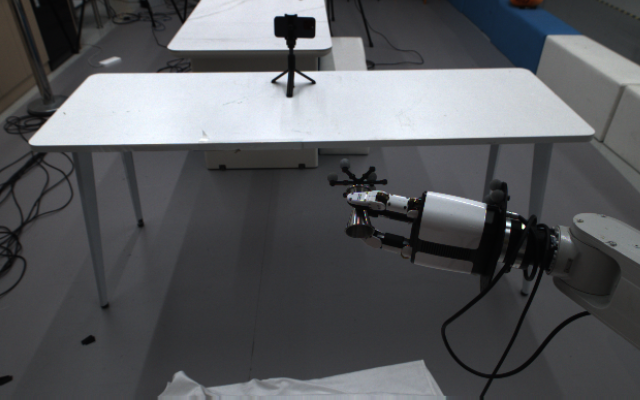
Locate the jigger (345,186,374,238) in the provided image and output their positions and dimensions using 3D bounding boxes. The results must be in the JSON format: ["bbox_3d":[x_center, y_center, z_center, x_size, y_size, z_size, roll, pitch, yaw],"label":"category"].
[{"bbox_3d":[0.058,0.013,0.714,0.043,0.043,0.071,2,59,-1],"label":"jigger"}]
